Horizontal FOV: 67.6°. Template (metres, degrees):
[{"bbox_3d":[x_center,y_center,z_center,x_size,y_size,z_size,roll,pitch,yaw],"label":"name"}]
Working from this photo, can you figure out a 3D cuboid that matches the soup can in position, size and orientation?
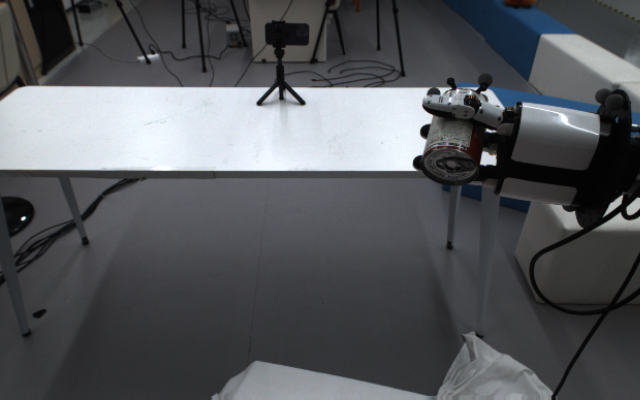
[{"bbox_3d":[0.165,-0.080,0.590,0.067,0.067,0.101,12,59,14],"label":"soup can"}]
